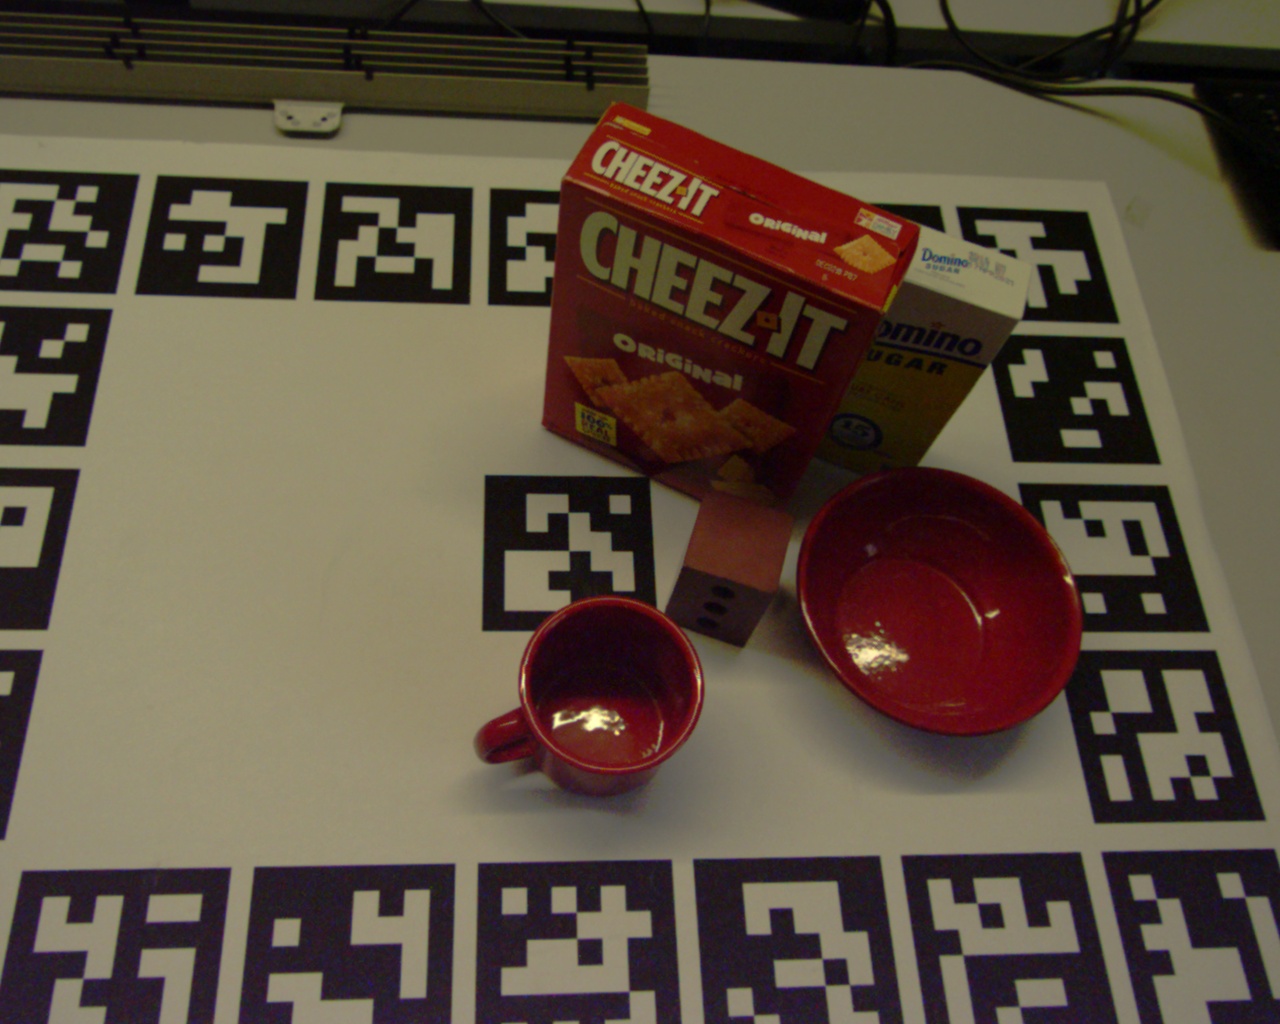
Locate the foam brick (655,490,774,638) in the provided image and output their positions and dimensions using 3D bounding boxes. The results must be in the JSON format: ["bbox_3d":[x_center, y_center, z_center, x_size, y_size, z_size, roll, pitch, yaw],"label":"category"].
[{"bbox_3d":[0.043,0.032,0.673,0.053,0.078,0.051,14,61,1],"label":"foam brick"}]

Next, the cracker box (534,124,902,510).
[{"bbox_3d":[0.030,-0.090,0.655,0.165,0.214,0.072,27,60,6],"label":"cracker box"}]

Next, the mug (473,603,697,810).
[{"bbox_3d":[-0.031,0.111,0.612,0.116,0.081,0.094,-9,56,-9],"label":"mug"}]

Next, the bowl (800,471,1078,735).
[{"bbox_3d":[0.167,0.058,0.669,0.161,0.055,0.162,2,63,-5],"label":"bowl"}]

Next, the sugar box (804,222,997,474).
[{"bbox_3d":[0.137,-0.094,0.688,0.093,0.176,0.045,19,62,3],"label":"sugar box"}]
